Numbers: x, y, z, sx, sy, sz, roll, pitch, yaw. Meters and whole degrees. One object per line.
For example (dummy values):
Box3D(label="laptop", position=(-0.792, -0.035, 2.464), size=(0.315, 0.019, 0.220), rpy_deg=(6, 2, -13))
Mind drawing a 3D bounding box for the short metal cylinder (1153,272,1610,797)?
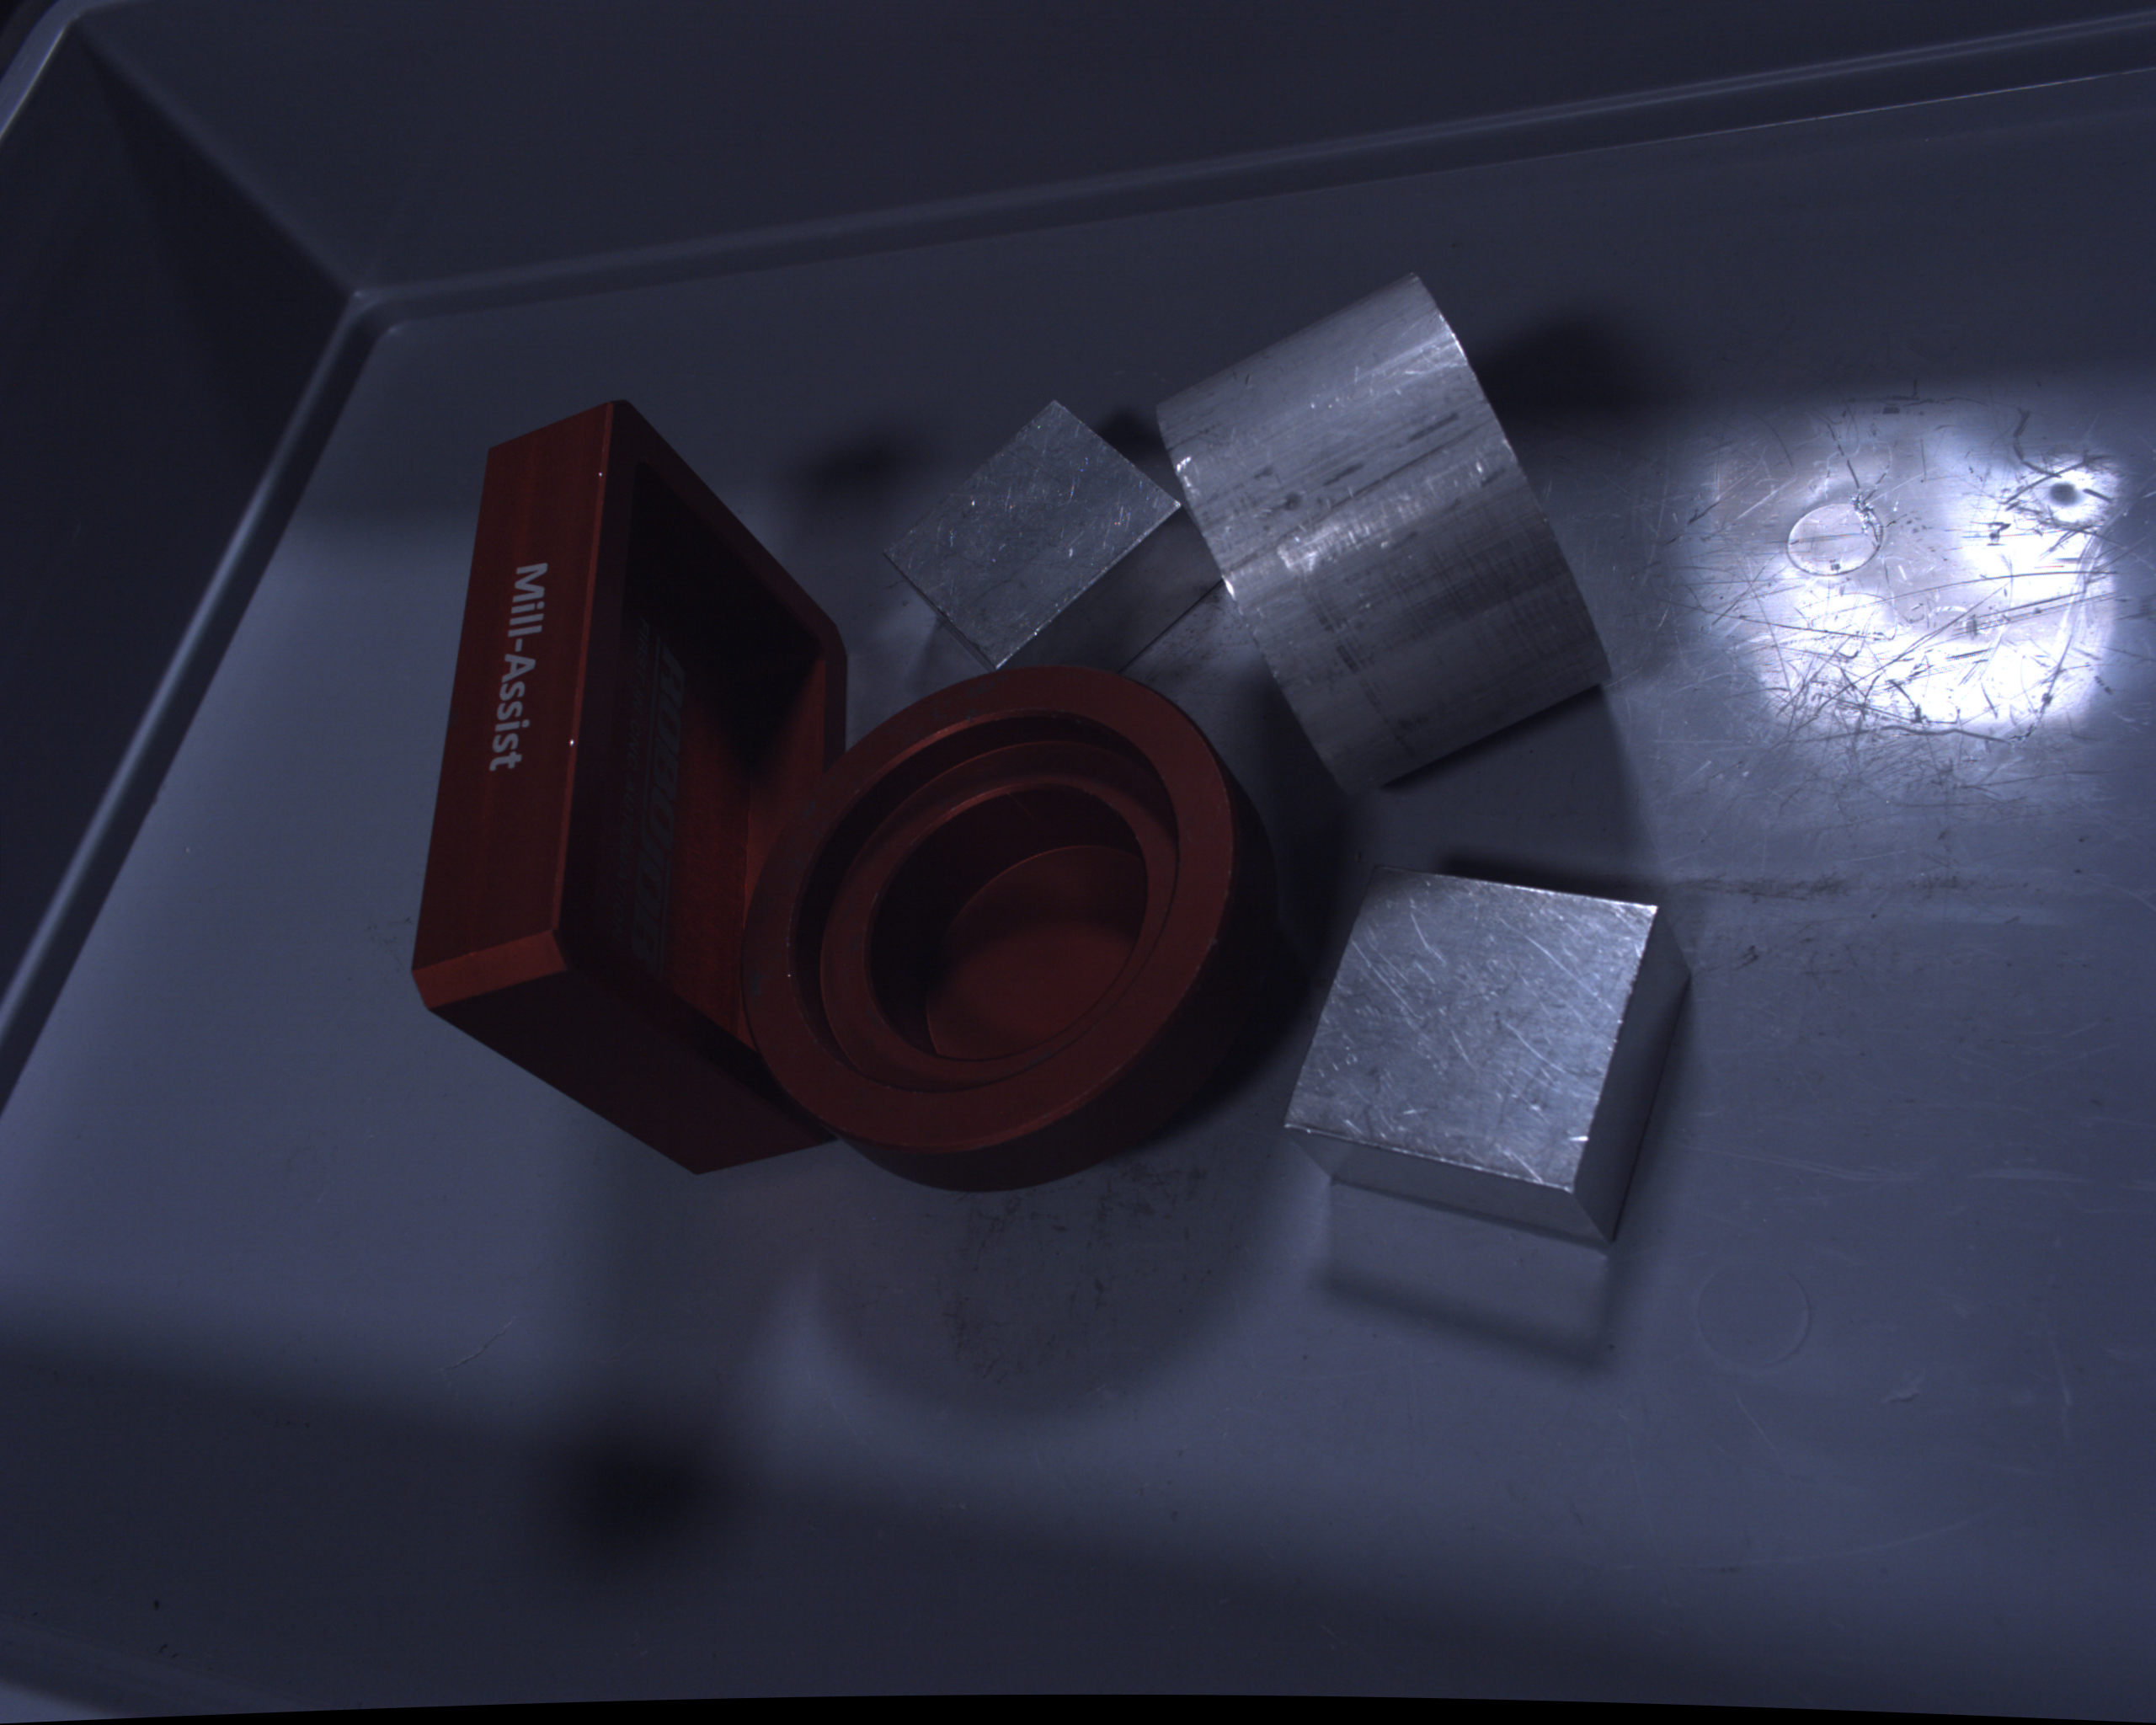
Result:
Box3D(label="short metal cylinder", position=(0.054, -0.058, 0.375), size=(0.050, 0.080, 0.080), rpy_deg=(-26, 53, 12))

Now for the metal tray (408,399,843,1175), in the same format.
Box3D(label="metal tray", position=(-0.083, -0.015, 0.413), size=(0.030, 0.090, 0.130), rpy_deg=(-16, 55, 20))

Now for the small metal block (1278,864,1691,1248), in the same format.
Box3D(label="small metal block", position=(0.068, 0.031, 0.348), size=(0.050, 0.025, 0.050), rpy_deg=(9, 66, 33))

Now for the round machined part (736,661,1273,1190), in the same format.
Box3D(label="round machined part", position=(-0.010, 0.015, 0.386), size=(0.098, 0.042, 0.098), rpy_deg=(-13, 56, 20))

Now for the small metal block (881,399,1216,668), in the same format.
Box3D(label="small metal block", position=(-0.006, -0.064, 0.444), size=(0.050, 0.025, 0.050), rpy_deg=(-42, 50, -1))
